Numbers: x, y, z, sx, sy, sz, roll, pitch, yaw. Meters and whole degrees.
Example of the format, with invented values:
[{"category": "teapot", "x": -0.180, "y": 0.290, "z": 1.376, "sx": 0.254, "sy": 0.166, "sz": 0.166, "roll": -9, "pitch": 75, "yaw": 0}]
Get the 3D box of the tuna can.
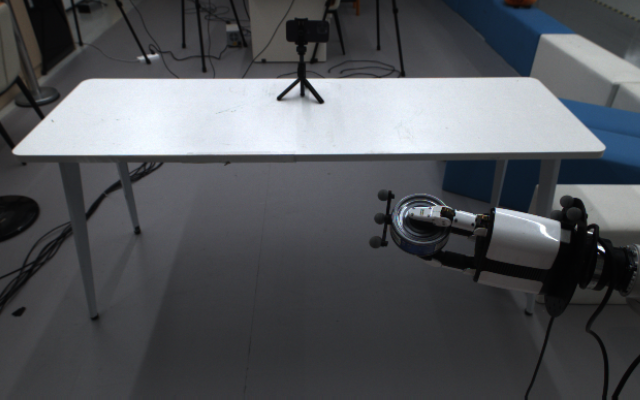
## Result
[{"category": "tuna can", "x": 0.144, "y": 0.031, "z": 0.686, "sx": 0.085, "sy": 0.034, "sz": 0.085, "roll": -2, "pitch": 57, "yaw": 3}]
